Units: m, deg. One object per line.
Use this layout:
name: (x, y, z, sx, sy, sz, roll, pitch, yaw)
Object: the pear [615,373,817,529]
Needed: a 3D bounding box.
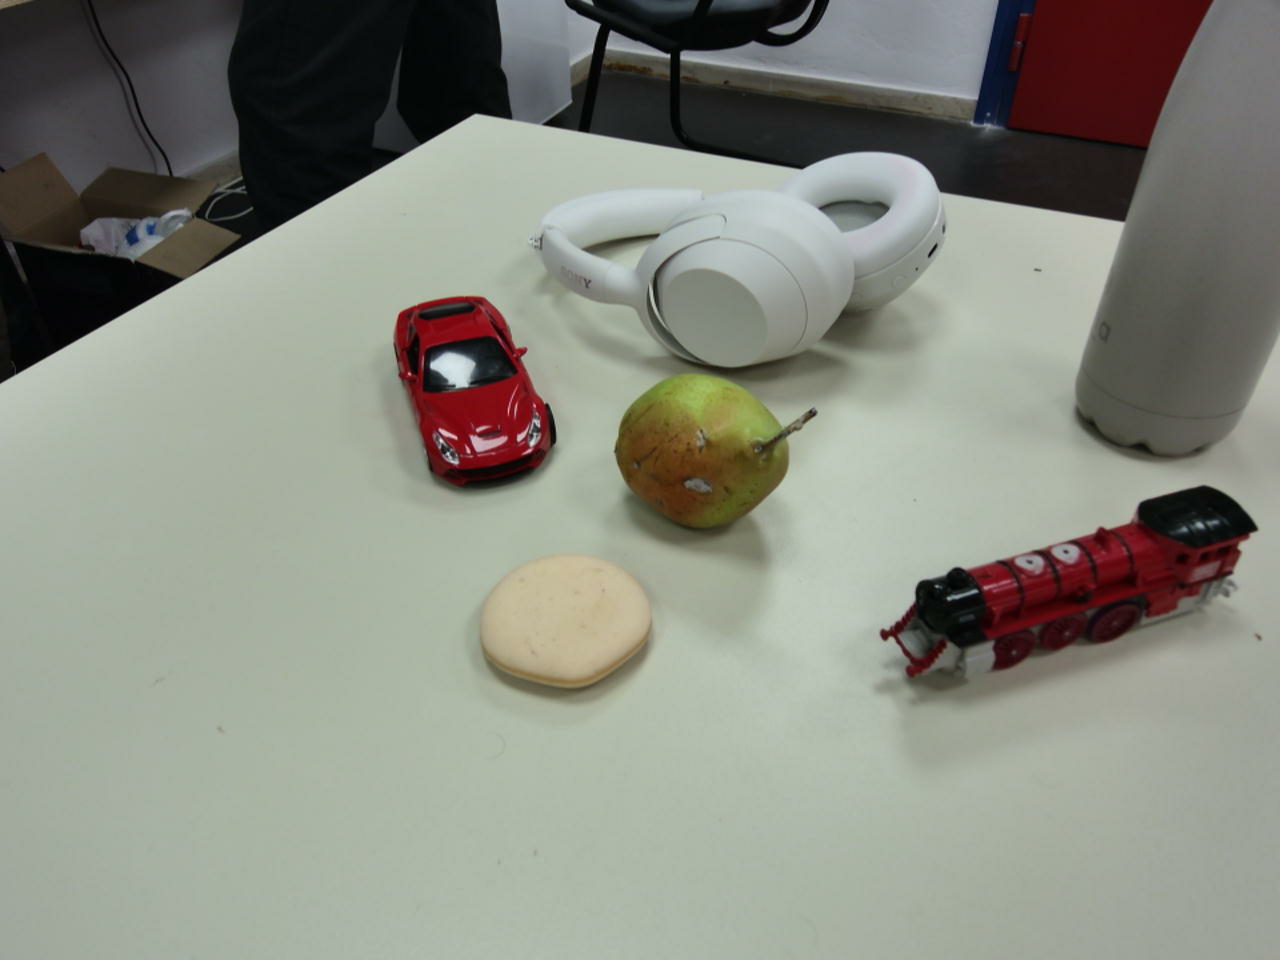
pear: (0.025, -0.014, 0.410, 0.068, 0.069, 0.070, -7, 38, -9)
